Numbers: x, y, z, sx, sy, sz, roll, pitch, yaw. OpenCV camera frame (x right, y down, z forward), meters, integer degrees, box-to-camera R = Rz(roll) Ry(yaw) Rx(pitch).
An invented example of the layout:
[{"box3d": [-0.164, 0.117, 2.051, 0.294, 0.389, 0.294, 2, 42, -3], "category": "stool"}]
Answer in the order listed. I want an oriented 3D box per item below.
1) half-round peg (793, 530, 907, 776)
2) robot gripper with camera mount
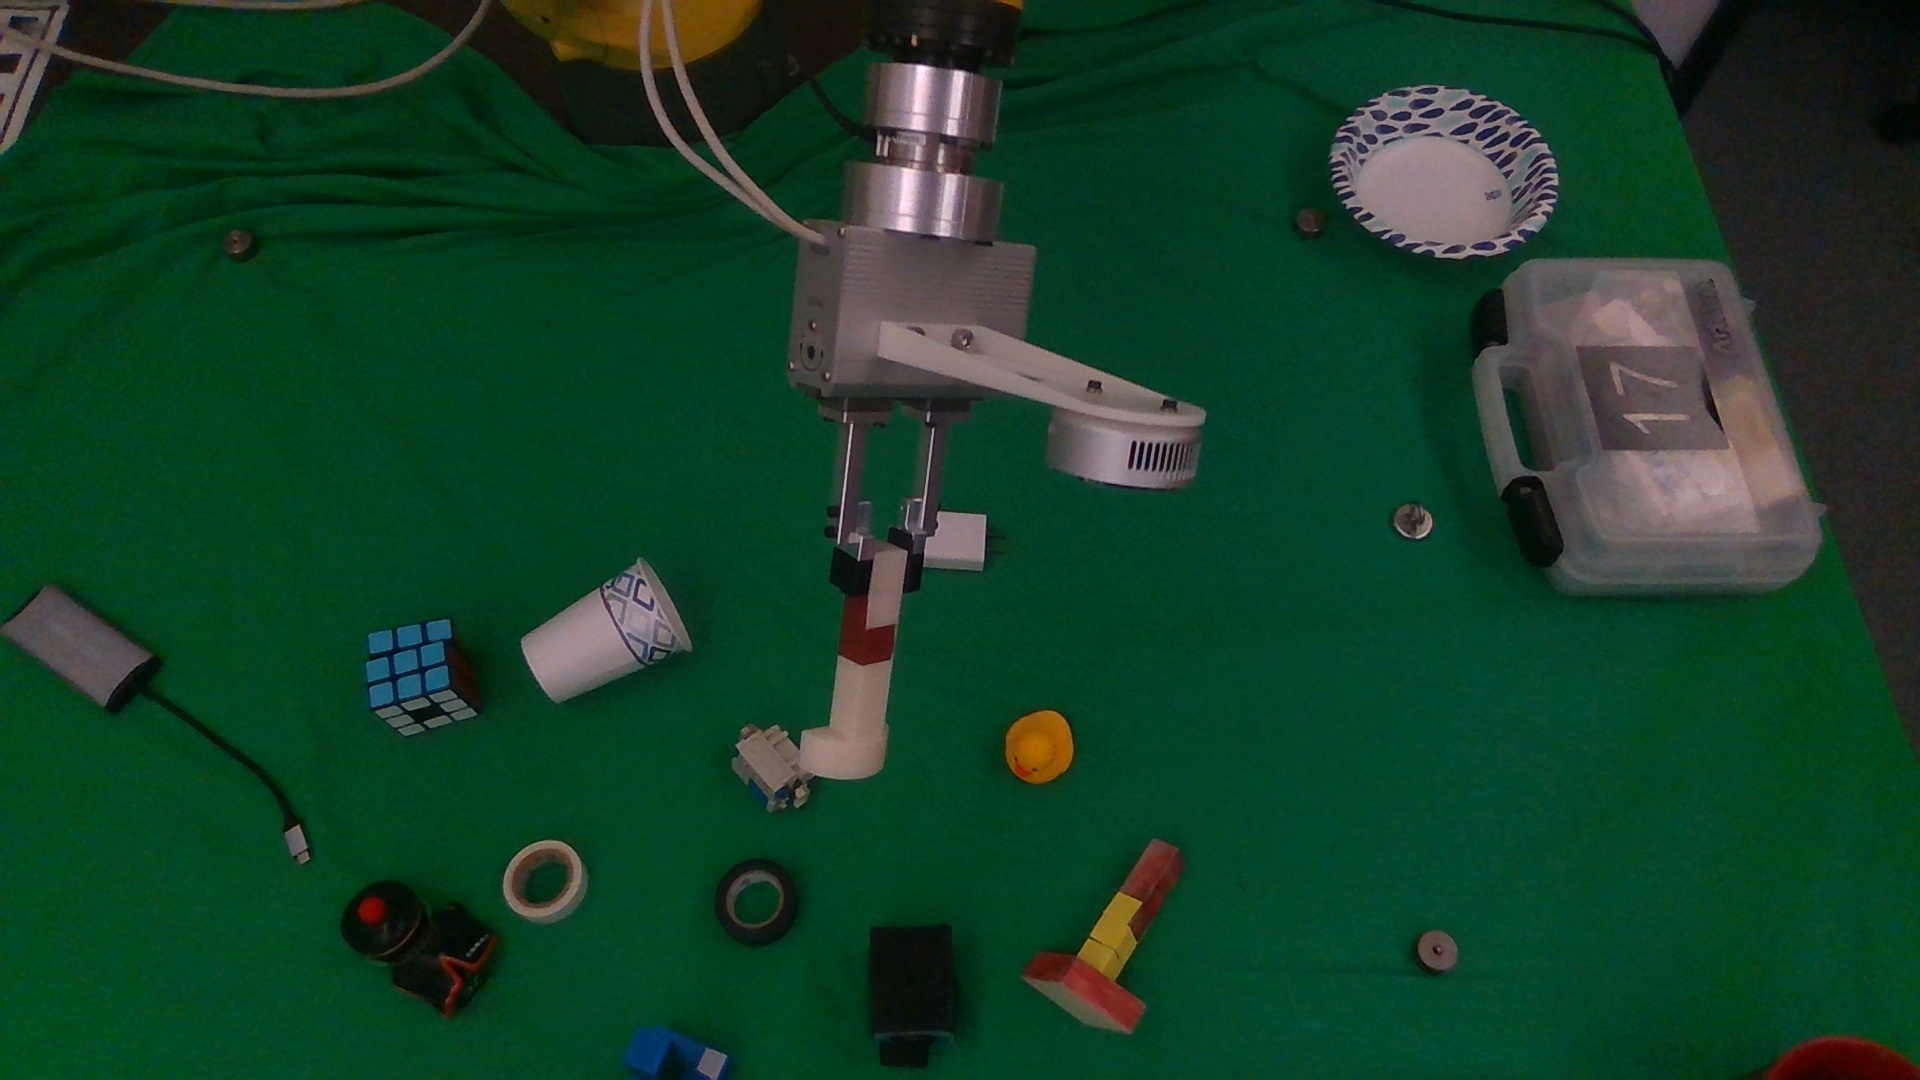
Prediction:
[{"box3d": [-0.048, 0.055, 0.678, 0.054, 0.122, 0.031, -5, 21, -39], "category": "half-round peg"}, {"box3d": [0.024, -0.035, 0.594, 0.118, 0.158, 0.194, -7, 18, -39], "category": "robot gripper with camera mount"}]
